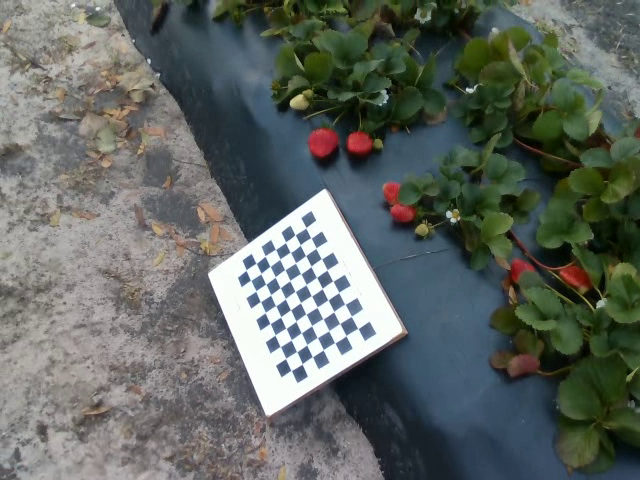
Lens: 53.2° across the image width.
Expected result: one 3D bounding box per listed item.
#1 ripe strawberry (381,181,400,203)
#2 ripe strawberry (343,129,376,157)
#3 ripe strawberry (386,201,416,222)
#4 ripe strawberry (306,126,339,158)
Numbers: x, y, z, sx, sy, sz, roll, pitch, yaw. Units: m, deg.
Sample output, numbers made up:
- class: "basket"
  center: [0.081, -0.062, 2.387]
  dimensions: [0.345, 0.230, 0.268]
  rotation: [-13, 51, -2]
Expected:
- class: "ripe strawberry"
  center: [0.129, -0.080, 1.093]
  dimensions: [0.053, 0.047, 0.038]
  rotation: [32, 10, 0]
- class: "ripe strawberry"
  center: [0.071, -0.173, 1.152]
  dimensions: [0.050, 0.051, 0.059]
  rotation: [-15, 20, 31]
- class: "ripe strawberry"
  center: [0.139, -0.048, 1.064]
  dimensions: [0.049, 0.043, 0.041]
  rotation: [-5, -40, -39]
- class: "ripe strawberry"
  center: [0.006, -0.173, 1.159]
  dimensions: [0.058, 0.065, 0.043]
  rotation: [-9, -35, 33]
